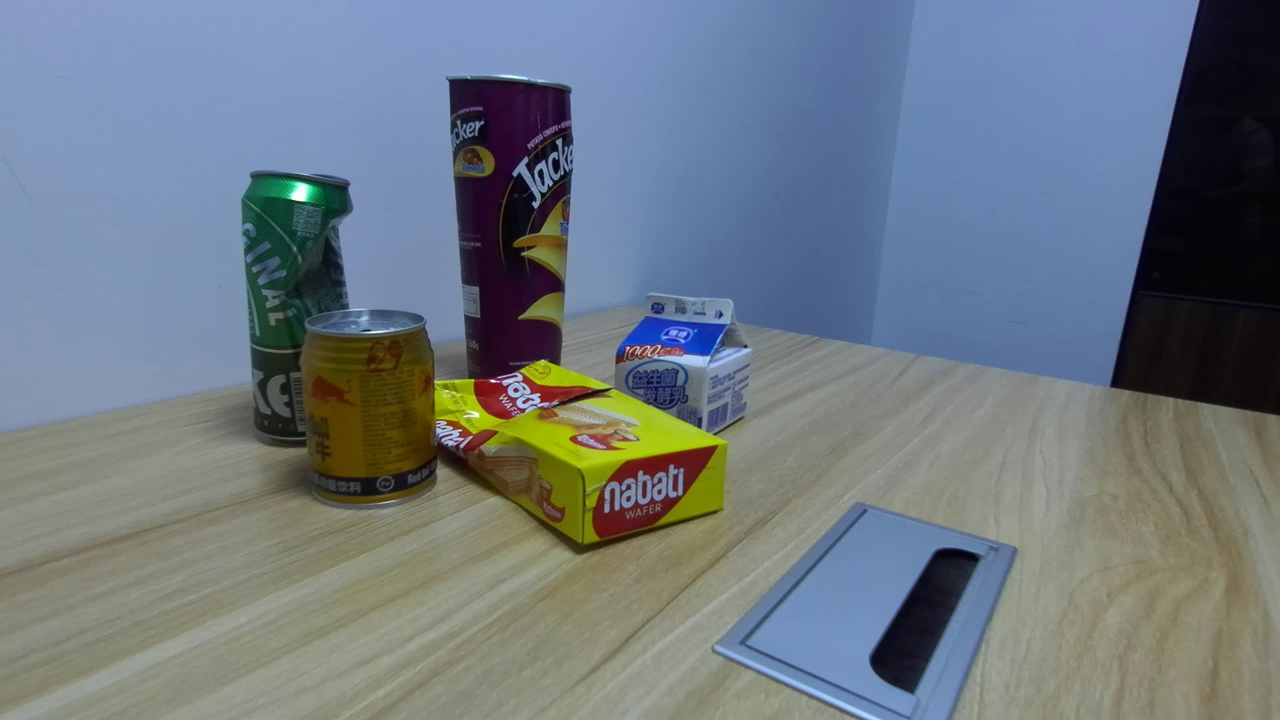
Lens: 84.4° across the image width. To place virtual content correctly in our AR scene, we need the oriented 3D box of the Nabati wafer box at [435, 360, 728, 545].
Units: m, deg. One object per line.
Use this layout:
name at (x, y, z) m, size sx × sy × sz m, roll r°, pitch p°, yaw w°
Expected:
Nabati wafer box at (-0.054, 0.044, 0.422) m, size 0.107 × 0.042 × 0.203 m, roll -7°, pitch 16°, yaw -36°

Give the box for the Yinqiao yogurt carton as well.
Yinqiao yogurt carton at (0.031, -0.001, 0.502) m, size 0.075 × 0.092 × 0.074 m, roll 11°, pitch 18°, yaw 32°

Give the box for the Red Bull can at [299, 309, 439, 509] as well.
Red Bull can at (-0.143, 0.024, 0.378) m, size 0.067 × 0.093 × 0.067 m, roll 4°, pitch 15°, yaw -1°

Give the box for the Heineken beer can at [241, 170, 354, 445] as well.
Heineken beer can at (-0.210, -0.032, 0.439) m, size 0.065 × 0.164 × 0.078 m, roll 15°, pitch 17°, yaw 37°

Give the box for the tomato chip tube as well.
tomato chip tube at (-0.099, -0.095, 0.560) m, size 0.077 × 0.235 × 0.076 m, roll 6°, pitch 15°, yaw 18°
